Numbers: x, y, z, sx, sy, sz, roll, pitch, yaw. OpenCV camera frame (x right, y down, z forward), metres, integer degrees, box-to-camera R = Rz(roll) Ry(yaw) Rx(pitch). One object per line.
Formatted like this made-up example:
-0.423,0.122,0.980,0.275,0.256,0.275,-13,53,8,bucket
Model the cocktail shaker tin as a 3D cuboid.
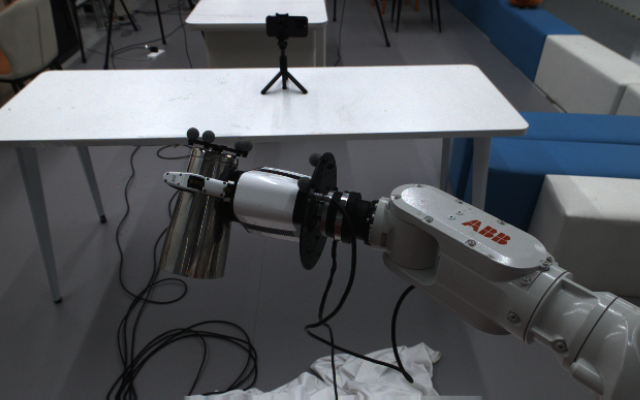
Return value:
-0.161,0.014,0.683,0.093,0.170,0.093,12,2,0,cocktail shaker tin
